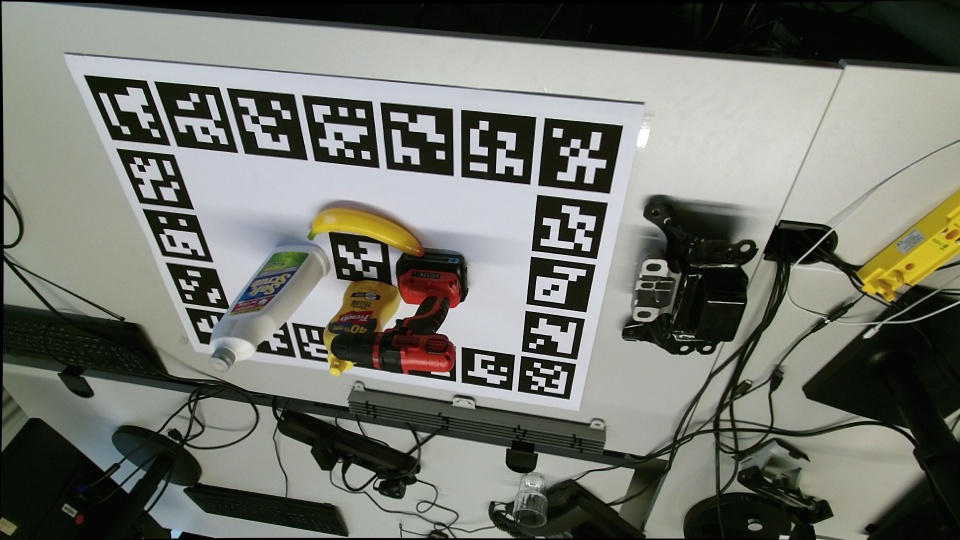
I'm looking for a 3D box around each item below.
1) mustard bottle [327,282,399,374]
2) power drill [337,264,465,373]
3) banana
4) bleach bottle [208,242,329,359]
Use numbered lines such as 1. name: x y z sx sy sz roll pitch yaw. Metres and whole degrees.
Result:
1. mustard bottle: -0.206 0.097 0.876 0.096 0.191 0.058 8 126 8
2. power drill: -0.107 0.071 0.813 0.185 0.186 0.057 6 132 11
3. banana: -0.193 -0.062 0.852 0.198 0.039 0.074 9 122 4
4. bleach bottle: -0.336 0.045 0.841 0.103 0.250 0.068 0 123 12
